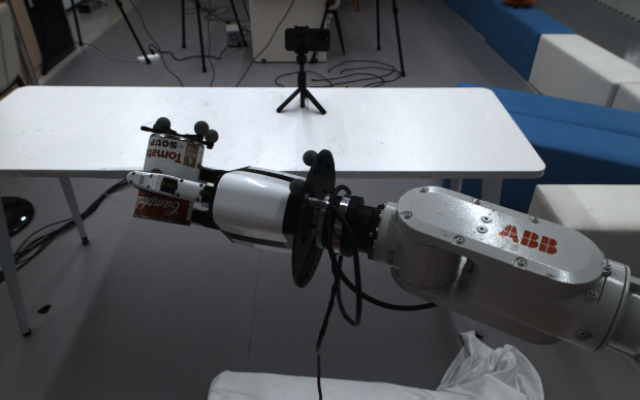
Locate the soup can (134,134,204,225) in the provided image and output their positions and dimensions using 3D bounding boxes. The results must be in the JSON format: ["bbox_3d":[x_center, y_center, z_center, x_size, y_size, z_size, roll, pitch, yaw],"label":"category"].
[{"bbox_3d":[-0.183,-0.022,0.592,0.067,0.101,0.067,9,-5,1],"label":"soup can"}]
